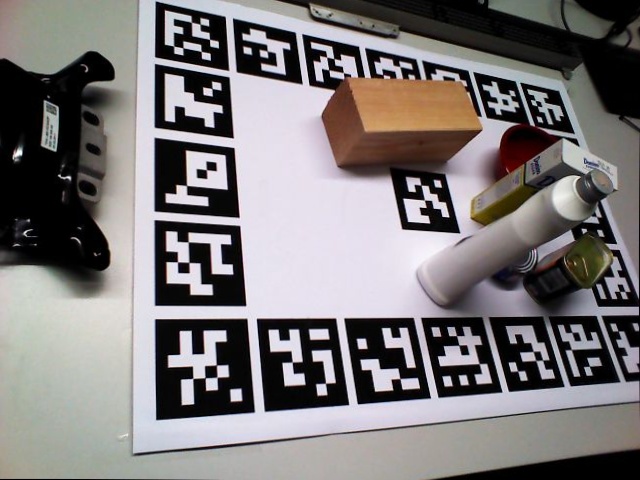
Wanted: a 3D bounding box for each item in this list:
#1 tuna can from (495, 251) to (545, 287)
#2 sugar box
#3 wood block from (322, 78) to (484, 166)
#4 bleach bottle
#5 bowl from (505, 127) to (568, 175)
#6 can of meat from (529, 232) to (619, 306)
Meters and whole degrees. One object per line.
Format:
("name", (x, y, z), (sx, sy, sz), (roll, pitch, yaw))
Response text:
("tuna can", (0.278, 0.024, 0.745), (0.085, 0.034, 0.085), (9, 66, -20))
("sugar box", (0.319, -0.060, 0.719), (0.093, 0.177, 0.045), (22, 61, -10))
("wood block", (0.121, -0.166, 0.740), (0.205, 0.090, 0.090), (-6, 73, -28))
("bleach bottle", (0.229, -0.003, 0.609), (0.102, 0.252, 0.068), (-24, 77, -31))
("bowl", (0.358, -0.104, 0.834), (0.161, 0.055, 0.161), (8, 63, -17))
("can of meat", (0.366, 0.044, 0.753), (0.101, 0.084, 0.058), (-29, 77, -34))
